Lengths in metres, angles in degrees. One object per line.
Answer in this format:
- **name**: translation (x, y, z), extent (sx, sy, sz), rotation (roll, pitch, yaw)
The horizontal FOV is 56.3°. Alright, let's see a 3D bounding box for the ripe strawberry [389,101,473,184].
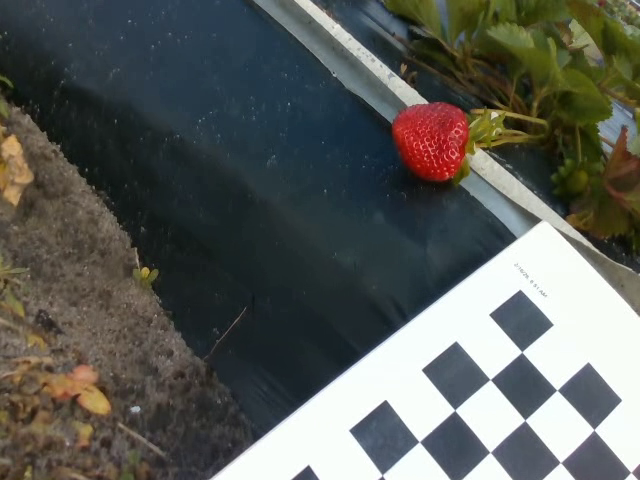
- **ripe strawberry**: translation (0.056, -0.053, 0.305), extent (0.052, 0.048, 0.030), rotation (14, -27, -27)
